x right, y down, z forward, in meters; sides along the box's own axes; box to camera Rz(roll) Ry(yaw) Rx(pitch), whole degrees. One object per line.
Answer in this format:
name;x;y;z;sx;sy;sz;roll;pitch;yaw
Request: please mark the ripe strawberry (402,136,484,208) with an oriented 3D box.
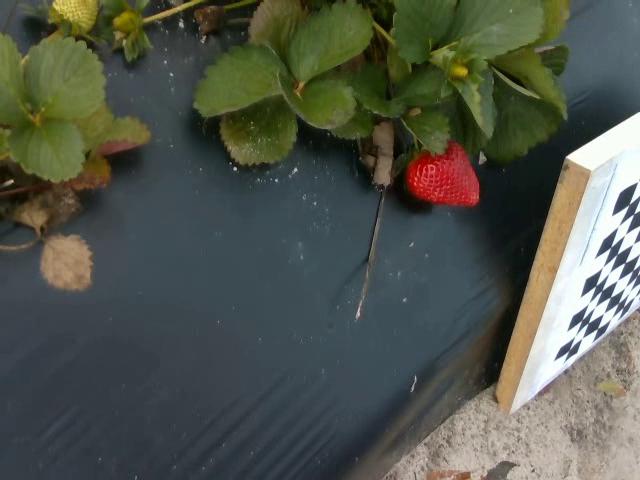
ripe strawberry;0.064;-0.031;0.315;0.046;0.037;0.037;38;13;-3
